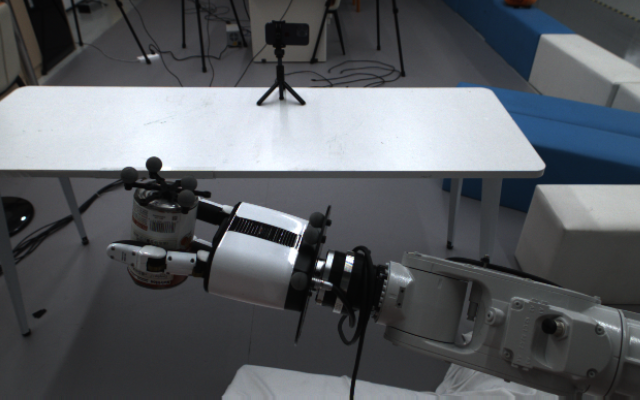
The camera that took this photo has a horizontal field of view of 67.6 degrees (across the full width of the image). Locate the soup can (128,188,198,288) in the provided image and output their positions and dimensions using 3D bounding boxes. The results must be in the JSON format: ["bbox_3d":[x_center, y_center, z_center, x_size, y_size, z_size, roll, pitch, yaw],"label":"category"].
[{"bbox_3d":[-0.173,0.040,0.535,0.067,0.101,0.067,13,24,-6],"label":"soup can"}]
